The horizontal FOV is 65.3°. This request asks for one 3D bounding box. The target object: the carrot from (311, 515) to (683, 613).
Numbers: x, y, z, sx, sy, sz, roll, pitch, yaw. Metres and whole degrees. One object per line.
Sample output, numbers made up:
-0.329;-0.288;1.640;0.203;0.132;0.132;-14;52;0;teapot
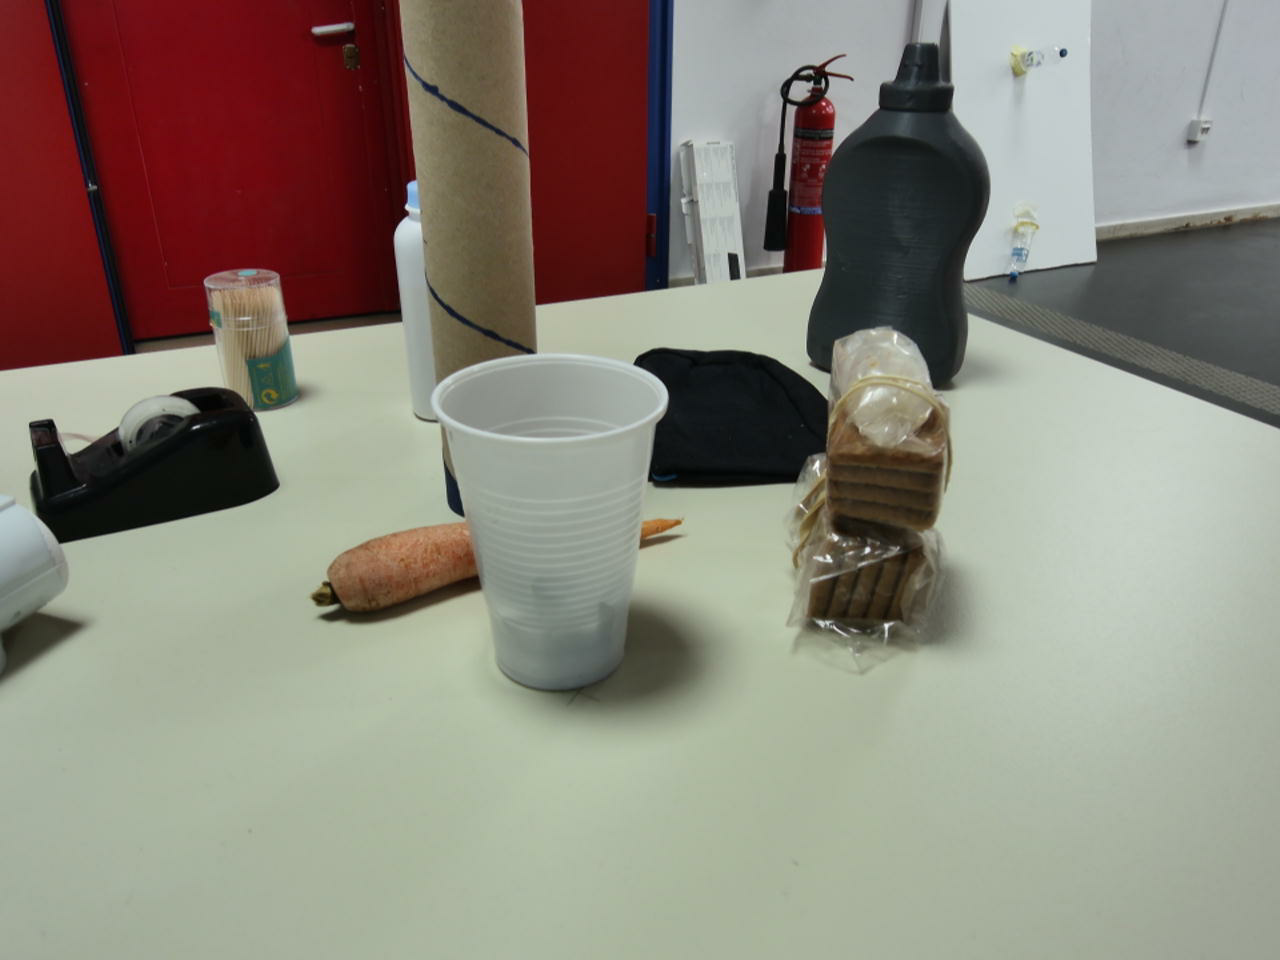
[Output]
-0.057;0.028;0.428;0.163;0.029;0.031;-12;27;-24;carrot
